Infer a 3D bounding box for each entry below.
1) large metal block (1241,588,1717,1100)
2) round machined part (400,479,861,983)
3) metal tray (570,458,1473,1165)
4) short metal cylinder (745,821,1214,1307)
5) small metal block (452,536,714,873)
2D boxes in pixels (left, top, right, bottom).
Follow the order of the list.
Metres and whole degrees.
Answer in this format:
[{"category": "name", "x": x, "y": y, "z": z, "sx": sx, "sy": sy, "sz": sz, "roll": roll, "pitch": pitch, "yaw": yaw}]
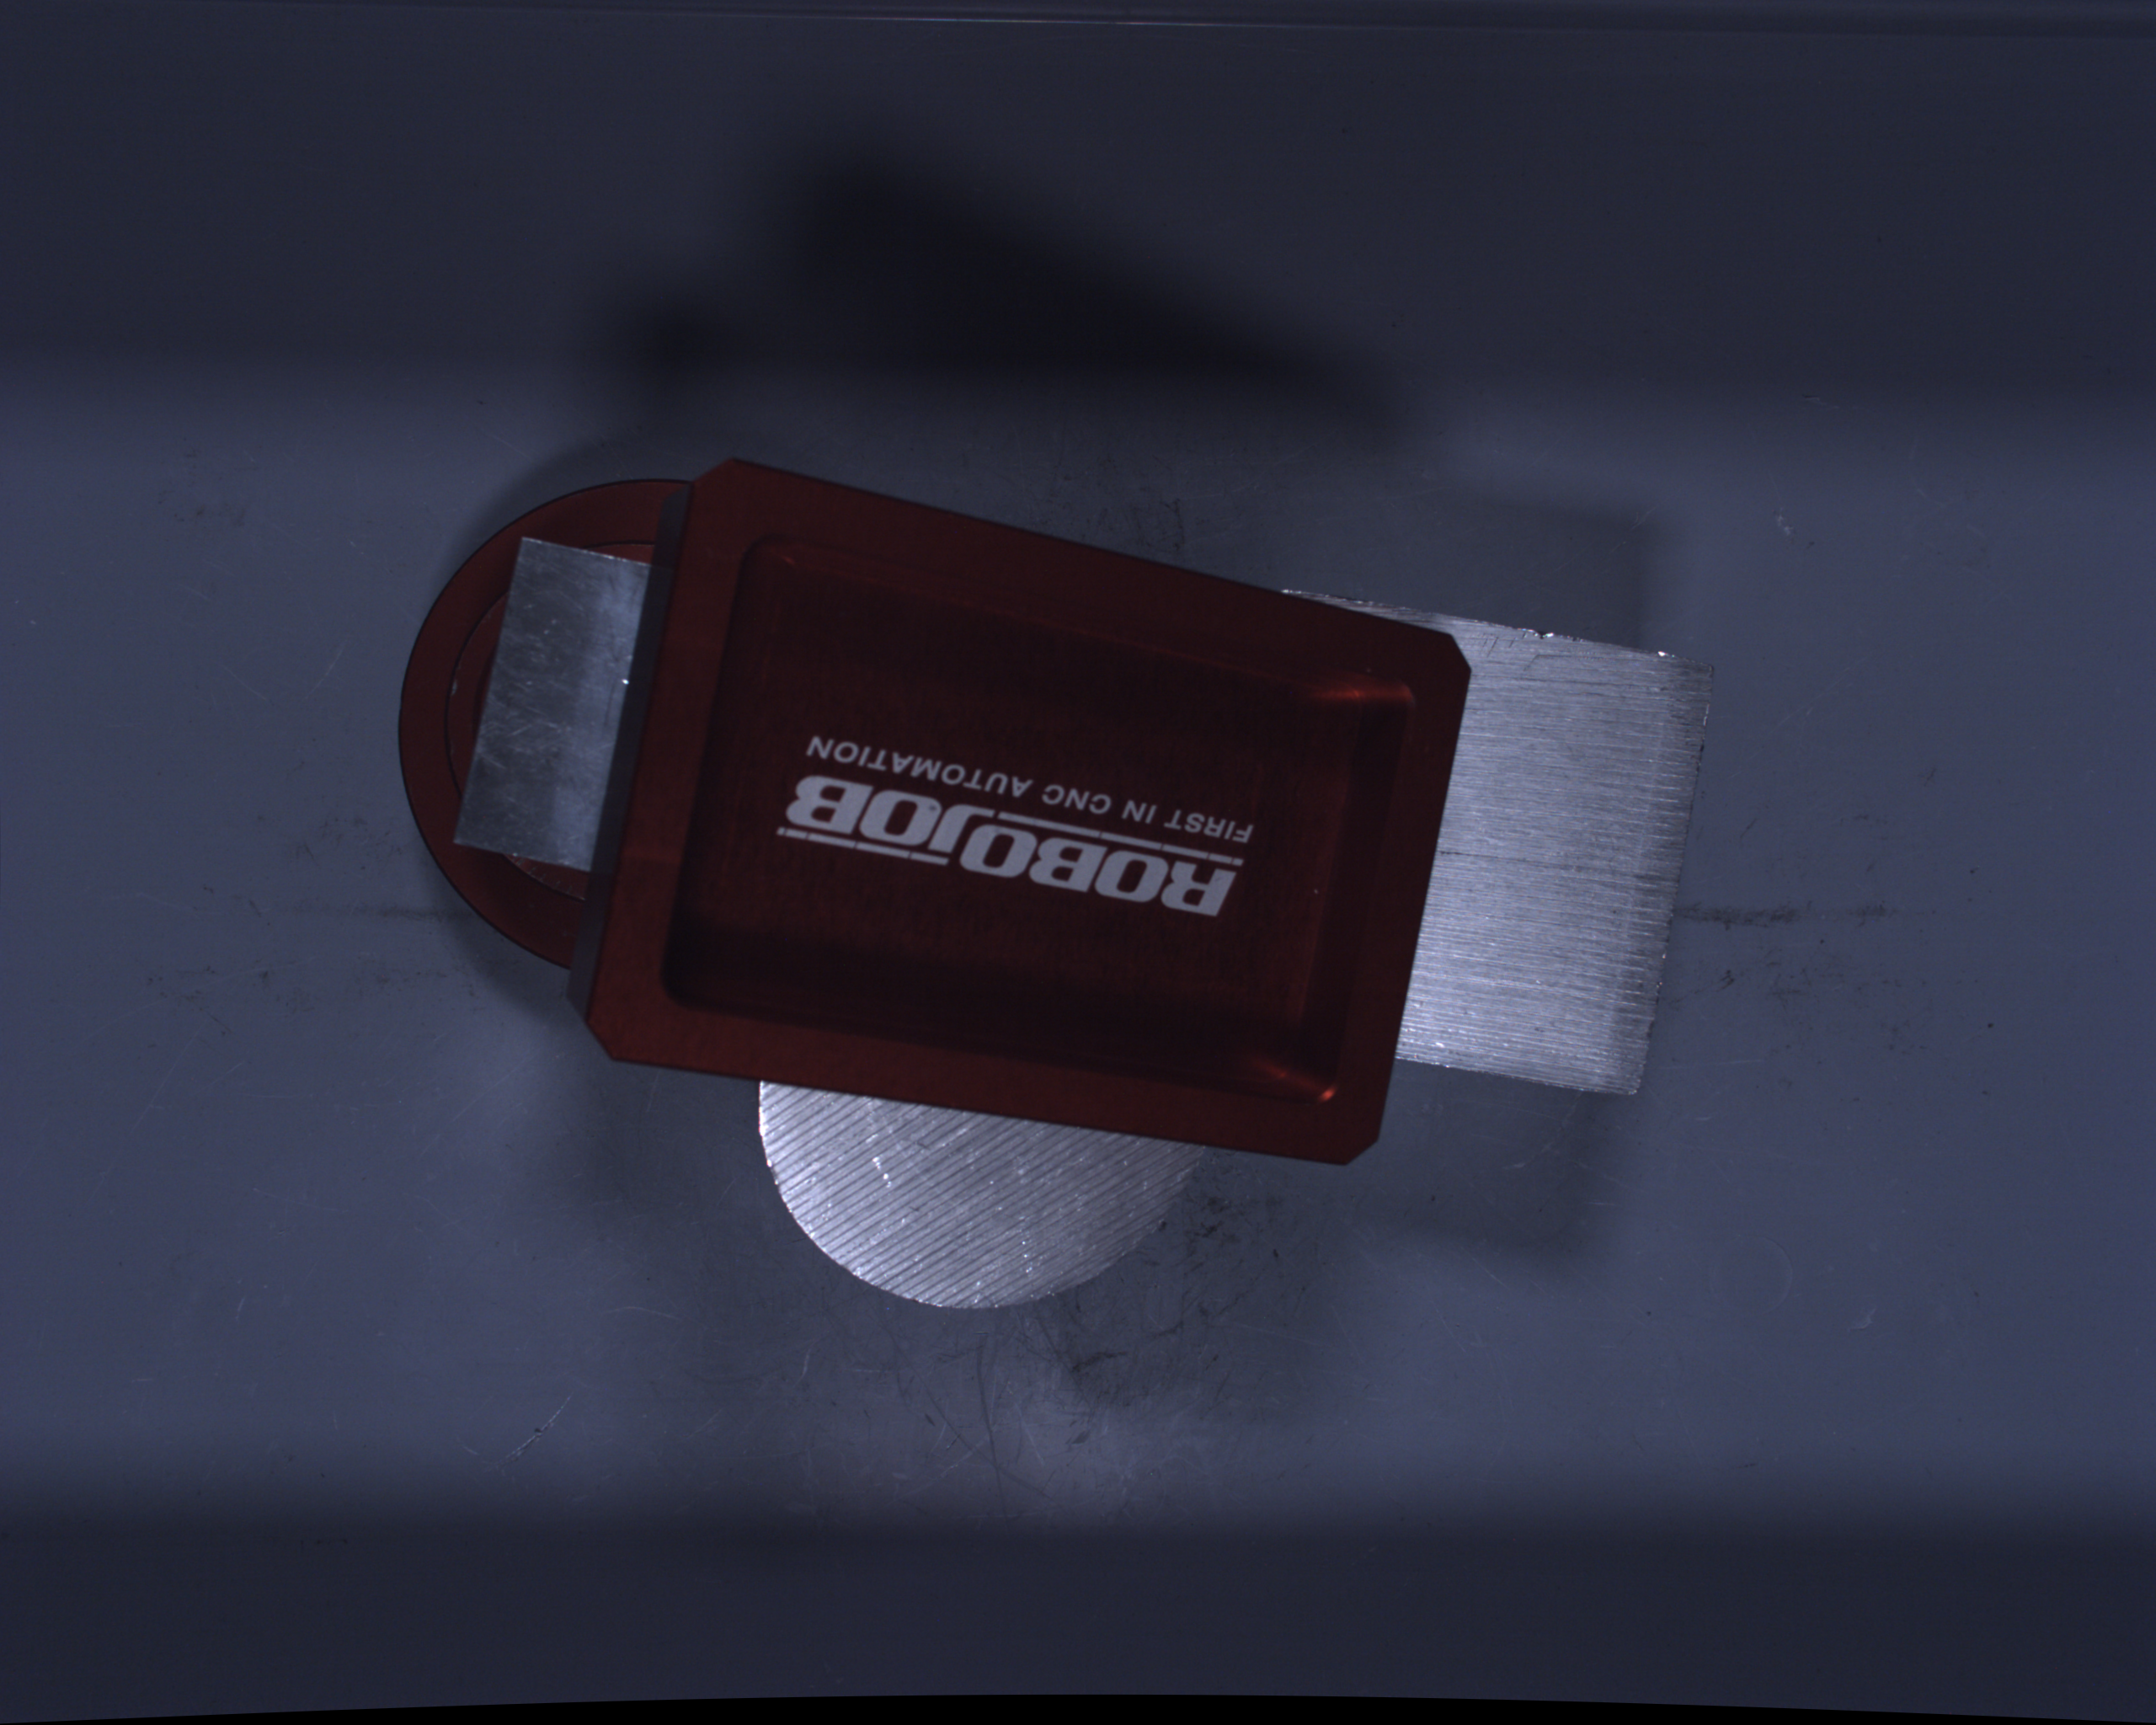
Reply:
[{"category": "large metal block", "x": 0.068, "y": -0.004, "z": 0.397, "sx": 0.080, "sy": 0.050, "sz": 0.080, "roll": 10, "pitch": 90, "yaw": -1}, {"category": "round machined part", "x": -0.081, "y": -0.025, "z": 0.400, "sx": 0.099, "sy": 0.042, "sz": 0.097, "roll": 0, "pitch": 90, "yaw": -1}, {"category": "metal tray", "x": -0.007, "y": -0.005, "z": 0.337, "sx": 0.131, "sy": 0.030, "sz": 0.089, "roll": 11, "pitch": 90, "yaw": -20}, {"category": "short metal cylinder", "x": -0.020, "y": 0.034, "z": 0.385, "sx": 0.081, "sy": 0.050, "sz": 0.079, "roll": -3, "pitch": 104, "yaw": -12}, {"category": "small metal block", "x": -0.081, "y": -0.025, "z": 0.354, "sx": 0.025, "sy": 0.050, "sz": 0.050, "roll": 12, "pitch": 90, "yaw": 0}]
